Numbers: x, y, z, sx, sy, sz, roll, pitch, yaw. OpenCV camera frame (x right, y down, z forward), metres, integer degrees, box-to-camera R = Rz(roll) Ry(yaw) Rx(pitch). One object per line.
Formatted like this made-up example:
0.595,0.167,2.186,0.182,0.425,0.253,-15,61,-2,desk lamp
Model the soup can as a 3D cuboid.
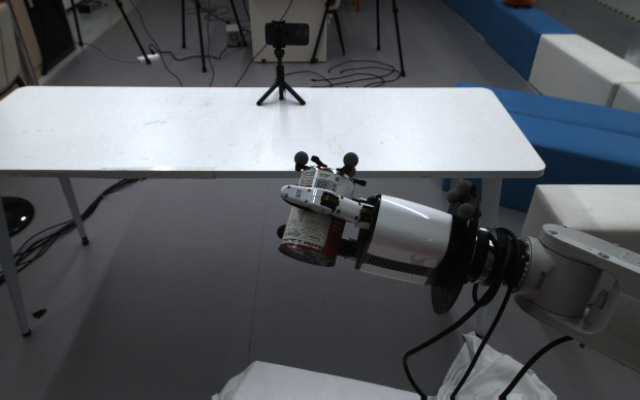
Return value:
0.000,0.020,0.568,0.067,0.067,0.101,11,72,13,soup can
